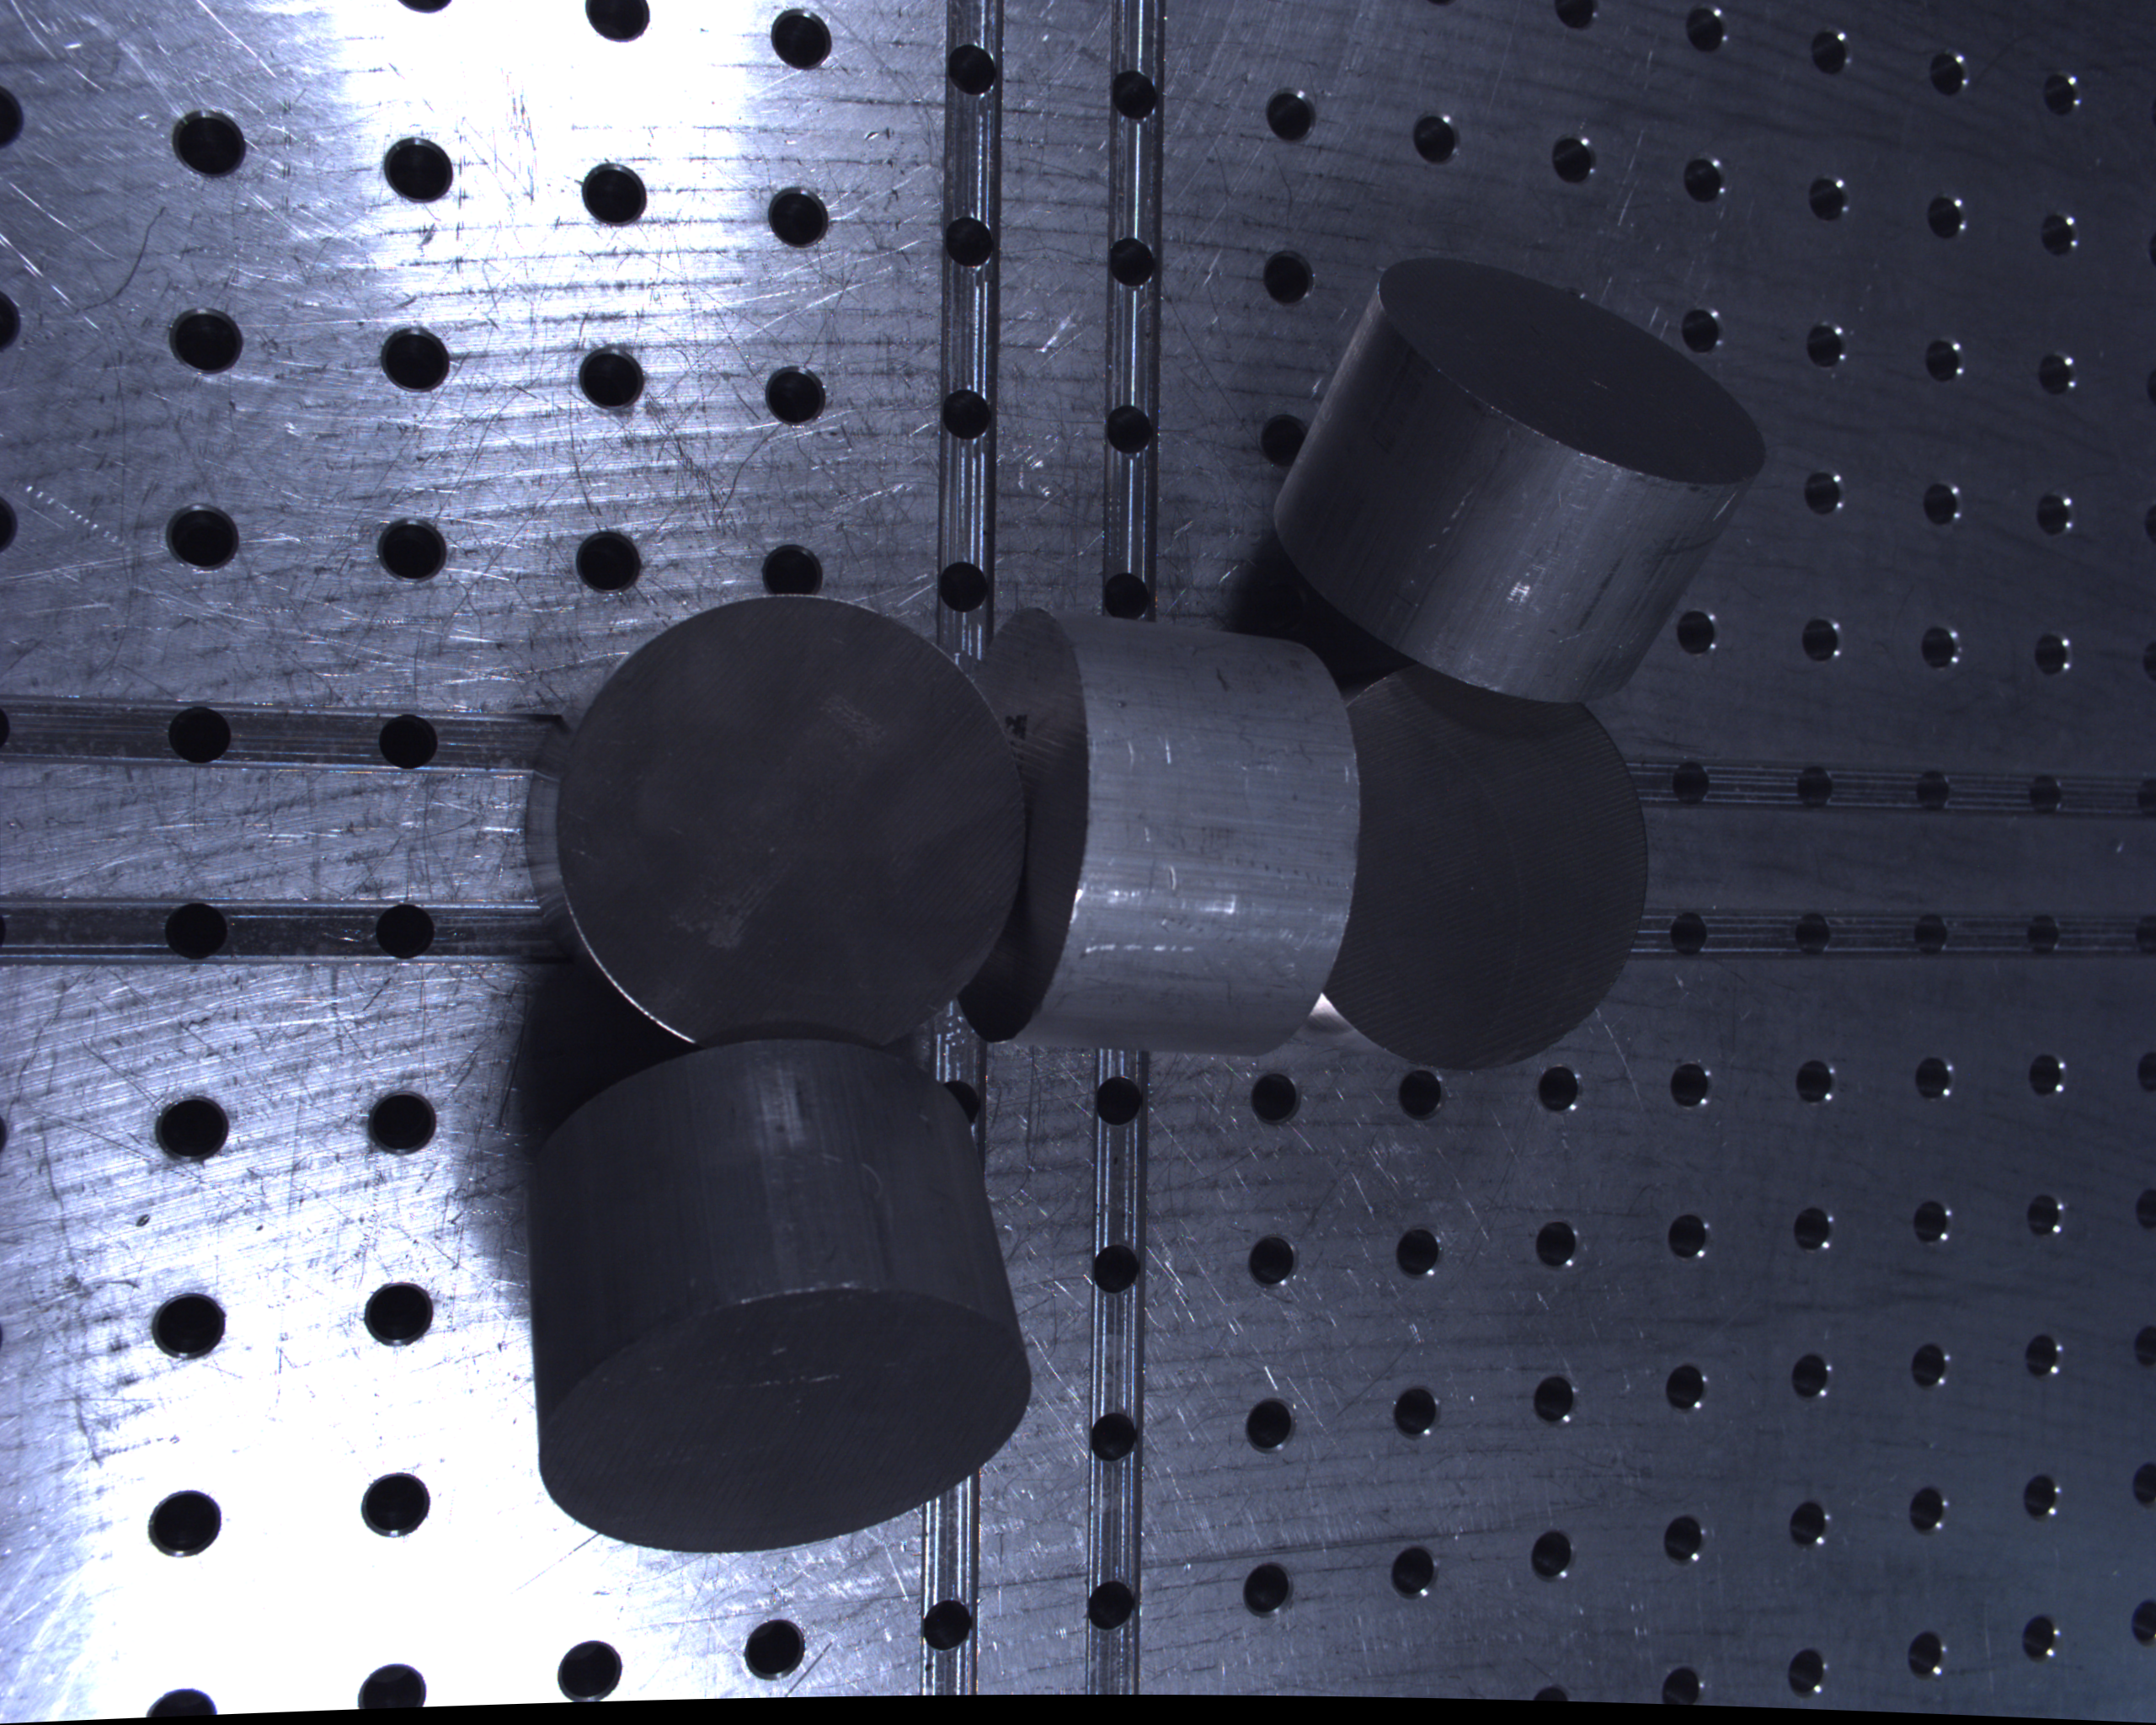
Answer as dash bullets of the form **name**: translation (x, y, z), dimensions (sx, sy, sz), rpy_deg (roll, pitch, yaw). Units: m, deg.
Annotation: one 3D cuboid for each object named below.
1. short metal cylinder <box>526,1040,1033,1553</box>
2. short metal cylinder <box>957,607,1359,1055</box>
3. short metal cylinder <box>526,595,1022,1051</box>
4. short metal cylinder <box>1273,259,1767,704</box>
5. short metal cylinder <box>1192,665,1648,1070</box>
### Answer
- **short metal cylinder**: translation (-0.052, 0.076, 0.359), dimensions (0.081, 0.050, 0.080), rpy_deg (-10, 137, -9)
- **short metal cylinder**: translation (0.011, -0.005, 0.388), dimensions (0.050, 0.080, 0.080), rpy_deg (5, 88, -20)
- **short metal cylinder**: translation (-0.056, -0.006, 0.378), dimensions (0.081, 0.050, 0.079), rpy_deg (0, 90, -21)
- **short metal cylinder**: translation (0.085, -0.075, 0.409), dimensions (0.081, 0.080, 0.050), rpy_deg (9, 129, -20)
- **short metal cylinder**: translation (0.067, 0.000, 0.425), dimensions (0.081, 0.050, 0.079), rpy_deg (0, 90, -21)
